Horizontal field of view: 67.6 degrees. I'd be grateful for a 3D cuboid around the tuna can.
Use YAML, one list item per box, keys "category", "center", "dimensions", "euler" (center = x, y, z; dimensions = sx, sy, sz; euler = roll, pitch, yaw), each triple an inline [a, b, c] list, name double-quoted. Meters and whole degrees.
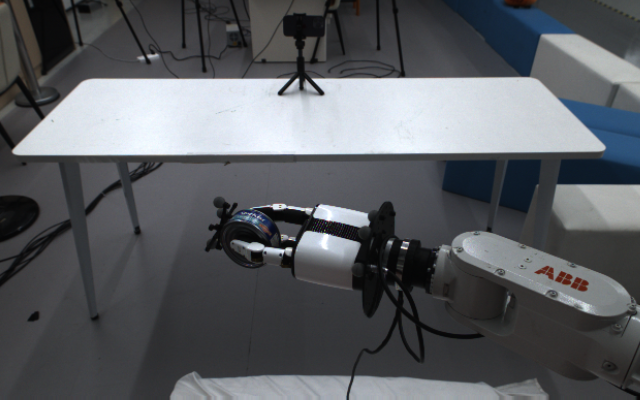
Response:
- category: "tuna can"
  center: [-0.100, 0.060, 0.710]
  dimensions: [0.085, 0.085, 0.034]
  euler: [12, 31, 14]
